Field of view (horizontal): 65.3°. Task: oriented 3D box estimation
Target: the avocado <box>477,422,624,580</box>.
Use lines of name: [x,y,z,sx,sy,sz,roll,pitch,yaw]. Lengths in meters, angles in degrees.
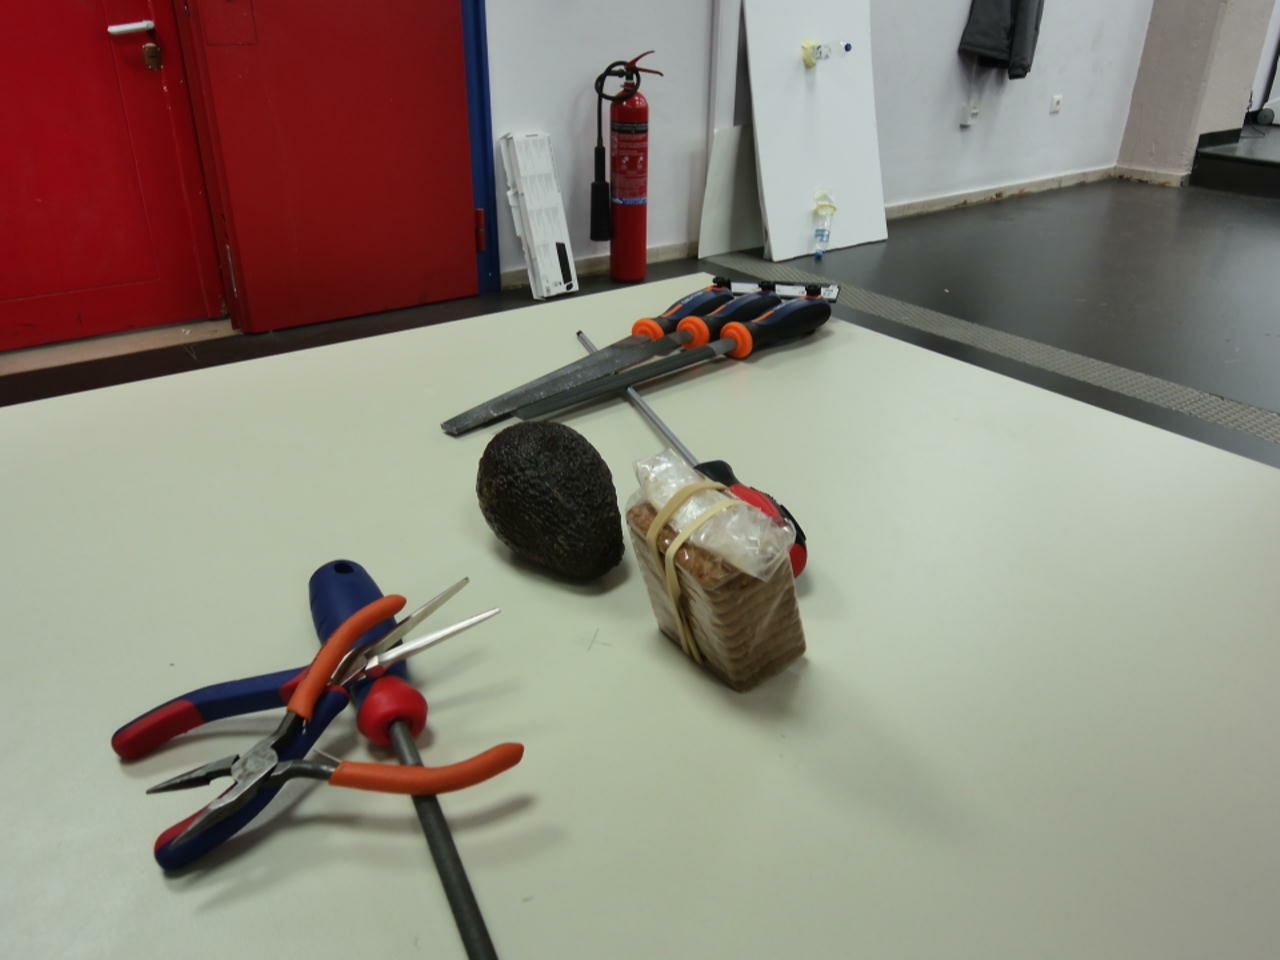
avocado: [-0.047,0.008,0.507,0.070,0.069,0.090,-5,25,-11]
